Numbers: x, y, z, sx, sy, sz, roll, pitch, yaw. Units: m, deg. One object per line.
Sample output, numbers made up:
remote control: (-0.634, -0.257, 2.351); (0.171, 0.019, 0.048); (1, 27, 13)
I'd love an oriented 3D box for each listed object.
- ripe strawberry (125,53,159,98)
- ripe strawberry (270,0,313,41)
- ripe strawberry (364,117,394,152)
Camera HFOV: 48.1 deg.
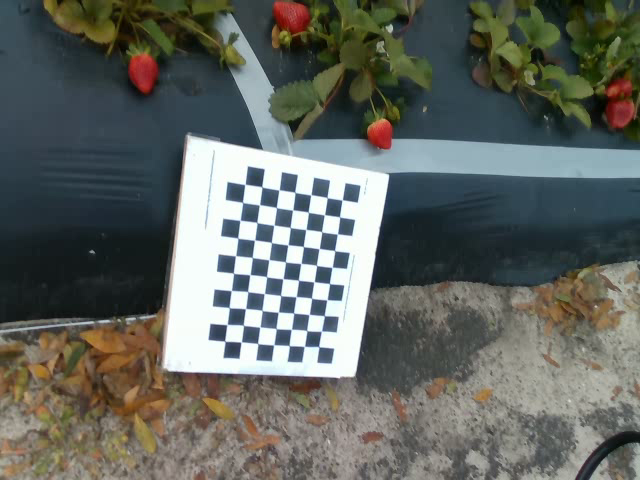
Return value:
ripe strawberry: (-0.175, -0.172, 0.750); (0.036, 0.046, 0.040); (-7, -31, -13)
ripe strawberry: (-0.033, -0.283, 0.889); (0.062, 0.043, 0.042); (28, 5, -20)
ripe strawberry: (0.083, -0.135, 0.915); (0.039, 0.047, 0.041); (-27, 15, -7)
